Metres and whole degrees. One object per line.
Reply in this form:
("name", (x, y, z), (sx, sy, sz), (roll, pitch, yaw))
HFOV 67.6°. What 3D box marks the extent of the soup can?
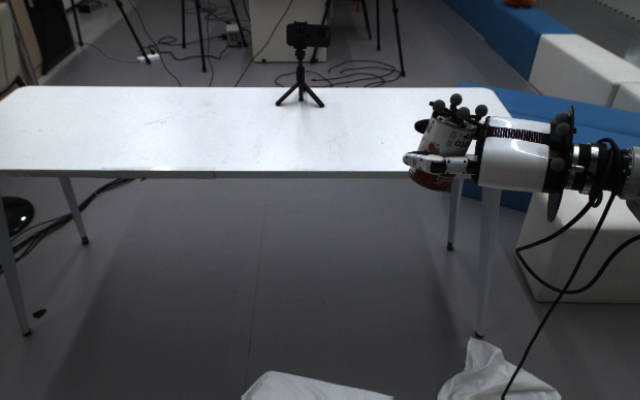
("soup can", (0.179, -0.074, 0.704), (0.067, 0.101, 0.067), (13, 30, -8))
